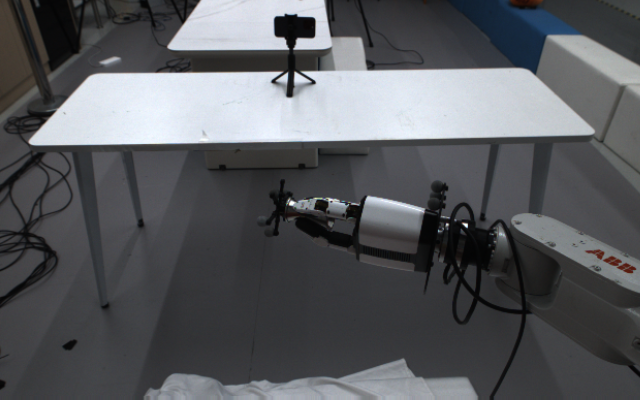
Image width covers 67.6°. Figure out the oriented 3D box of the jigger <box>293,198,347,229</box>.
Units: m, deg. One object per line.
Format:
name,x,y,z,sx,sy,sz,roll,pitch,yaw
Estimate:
jigger,-0.009,0.016,0.726,0.071,0.043,0.043,9,35,16
